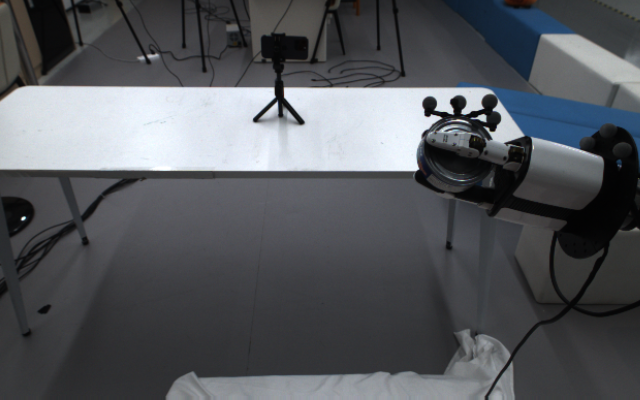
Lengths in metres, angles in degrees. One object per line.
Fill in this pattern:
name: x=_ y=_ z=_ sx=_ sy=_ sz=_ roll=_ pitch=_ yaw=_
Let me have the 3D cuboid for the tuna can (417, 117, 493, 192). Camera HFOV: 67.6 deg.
tuna can: x=0.161 y=-0.057 z=0.572 sx=0.085 sy=0.034 sz=0.085 roll=1 pitch=73 yaw=-4
